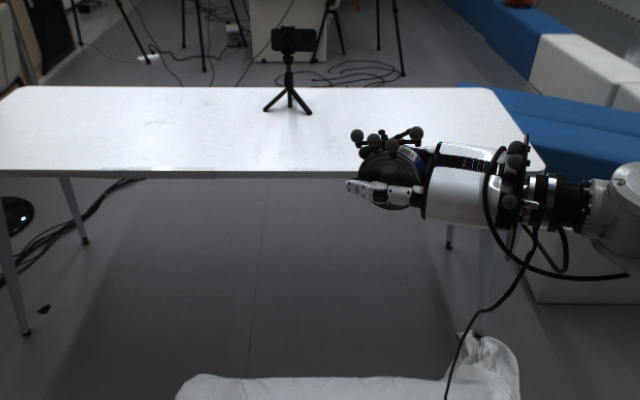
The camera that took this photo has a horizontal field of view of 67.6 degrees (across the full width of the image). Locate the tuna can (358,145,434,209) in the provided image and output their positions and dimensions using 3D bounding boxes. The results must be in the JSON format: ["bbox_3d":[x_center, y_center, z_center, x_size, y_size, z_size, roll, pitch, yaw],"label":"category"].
[{"bbox_3d":[0.097,-0.033,0.639,0.085,0.085,0.034,17,37,20],"label":"tuna can"}]
